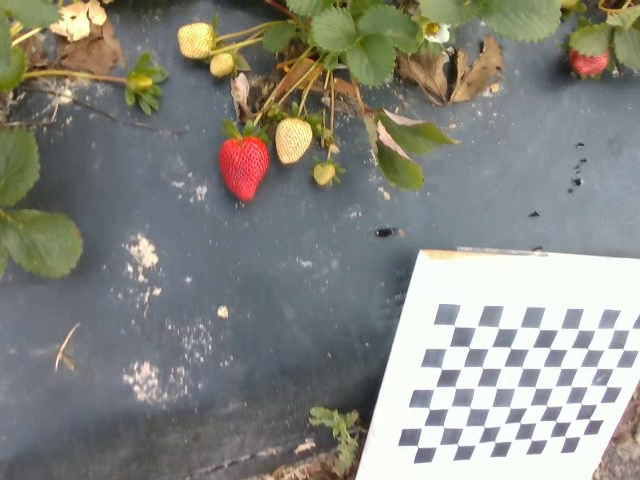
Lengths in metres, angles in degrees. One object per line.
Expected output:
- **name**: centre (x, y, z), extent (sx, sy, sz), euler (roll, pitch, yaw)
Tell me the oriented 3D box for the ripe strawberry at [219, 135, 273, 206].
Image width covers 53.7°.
- **ripe strawberry**: centre (-0.059, -0.058, 0.503), extent (0.050, 0.059, 0.034), euler (-6, -22, -13)
